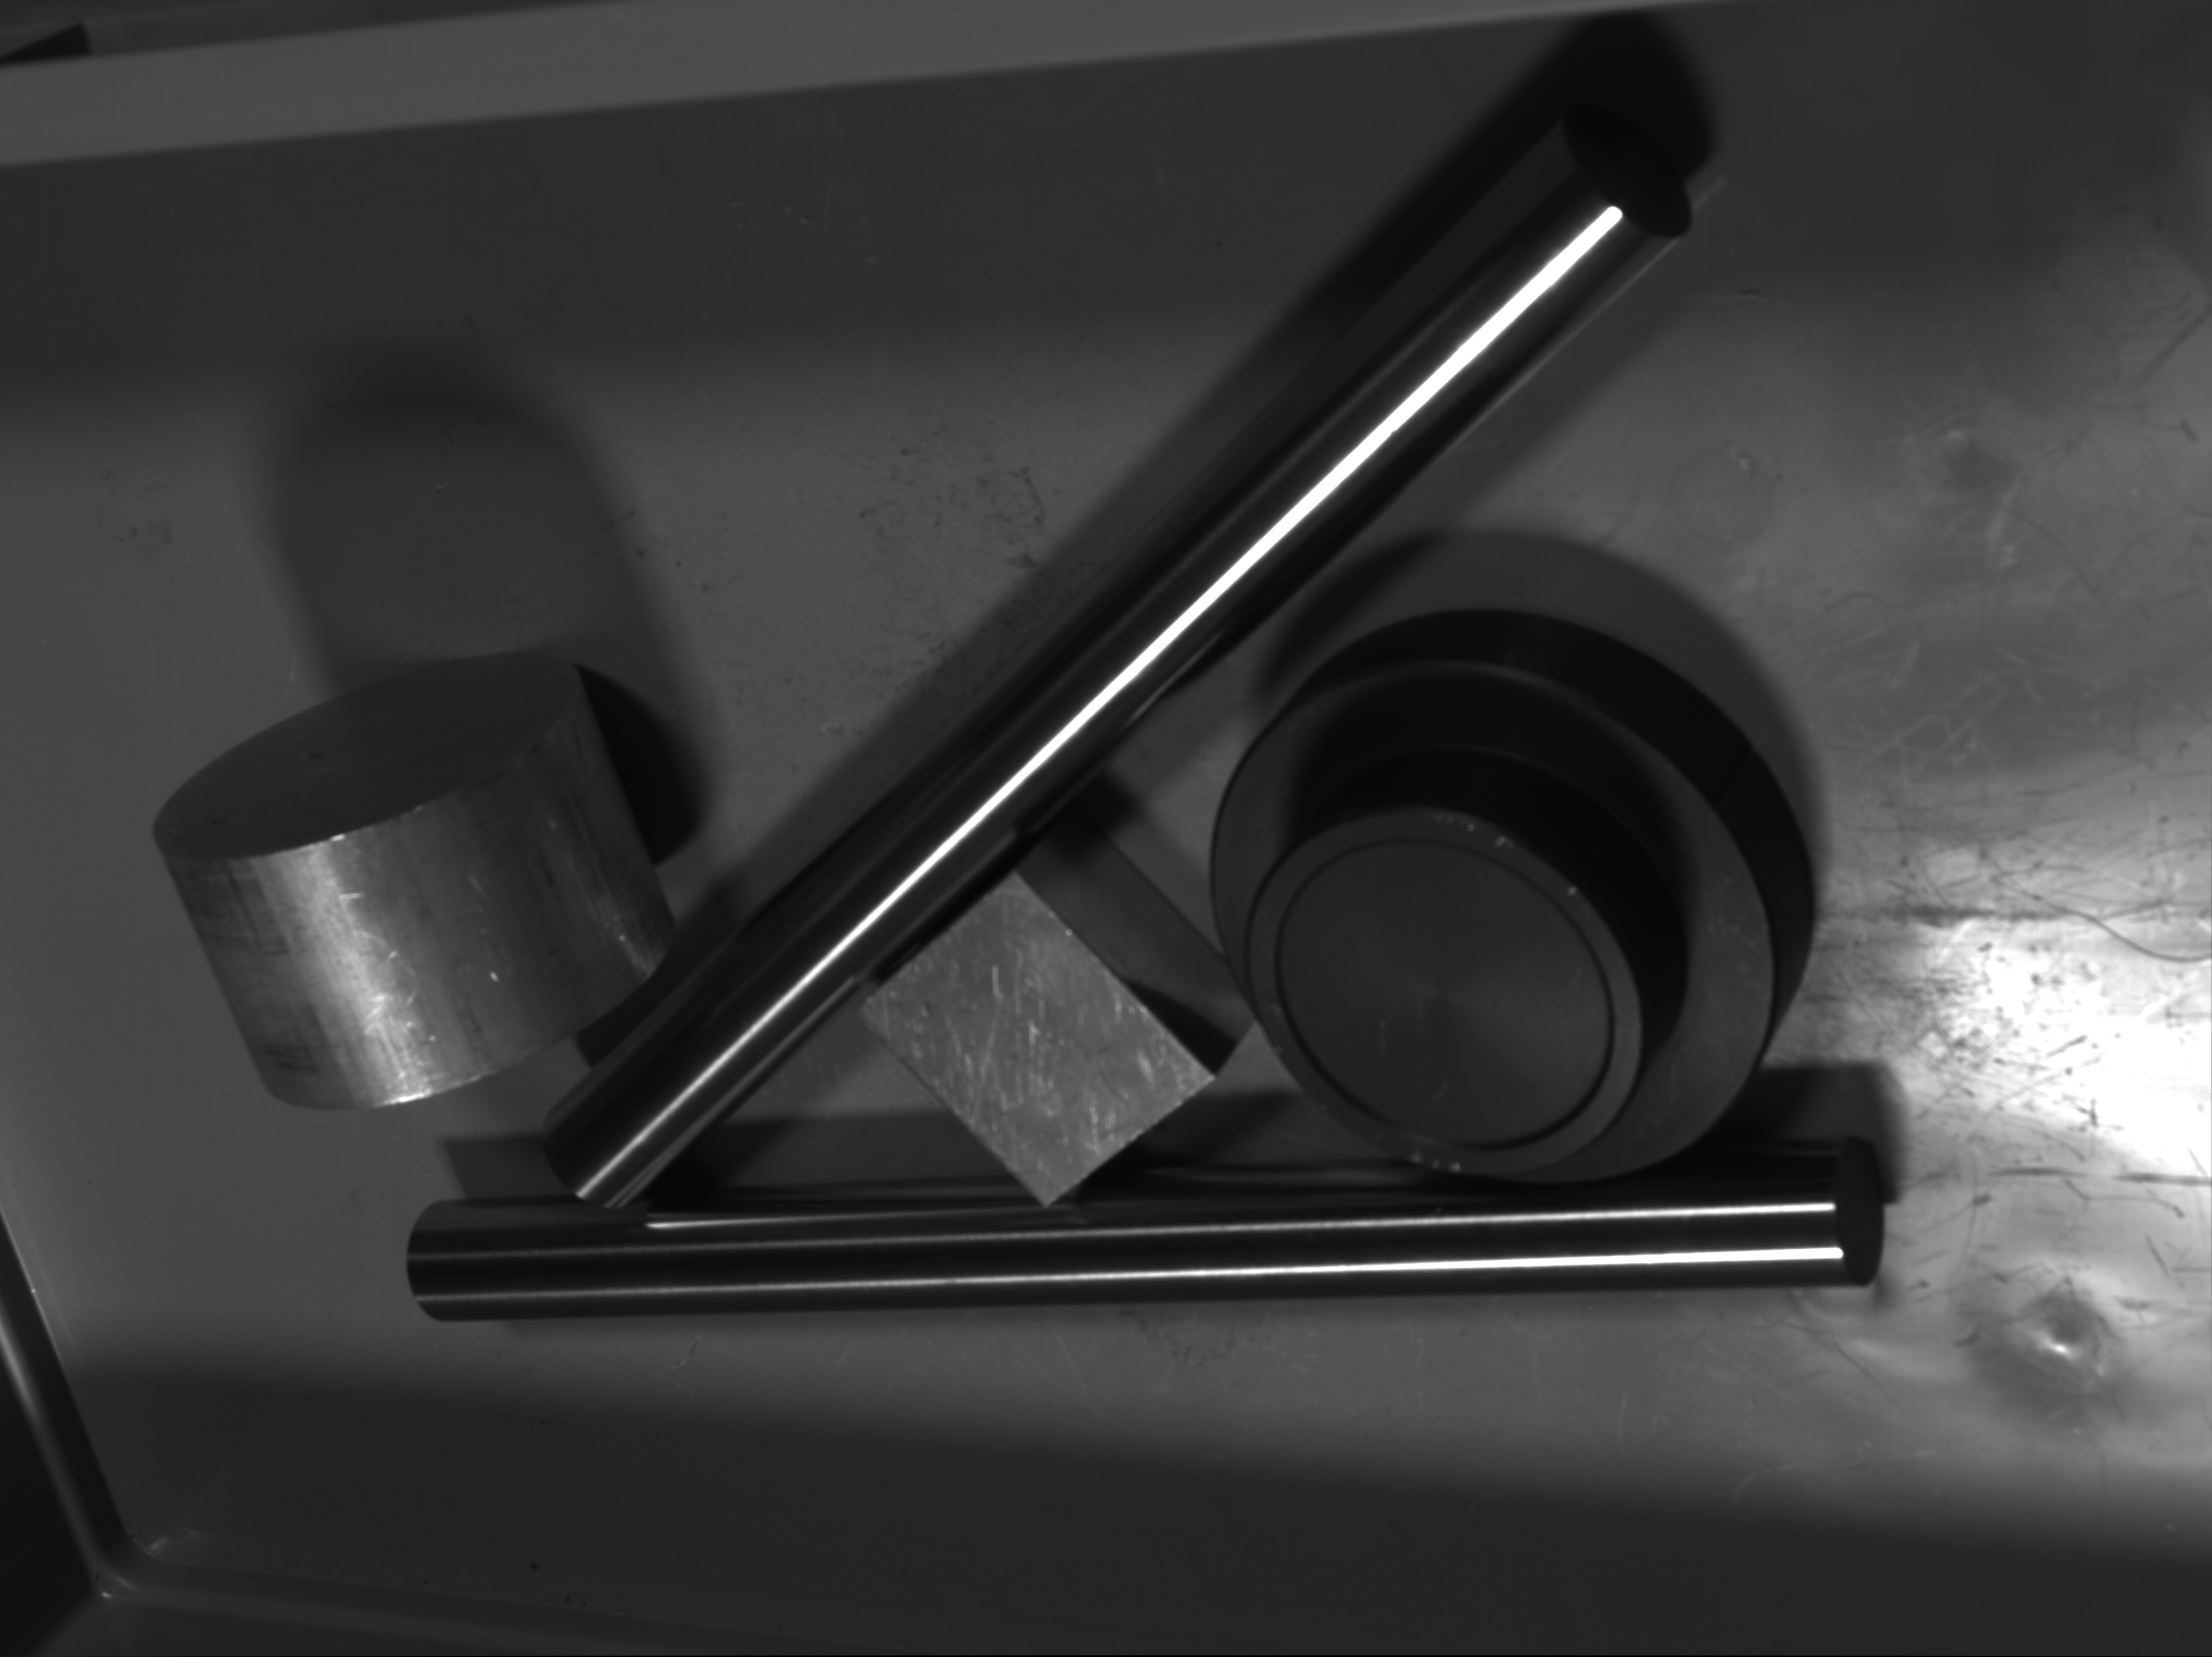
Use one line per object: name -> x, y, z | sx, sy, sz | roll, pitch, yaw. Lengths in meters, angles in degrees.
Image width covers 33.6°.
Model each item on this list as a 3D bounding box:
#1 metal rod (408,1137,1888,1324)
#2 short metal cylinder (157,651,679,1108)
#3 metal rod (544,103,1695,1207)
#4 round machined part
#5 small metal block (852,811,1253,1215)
metal rod -> -0.005, 0.076, 0.678 | 0.299, 0.025, 0.025 | -6, 116, 29
short metal cylinder -> -0.124, 0.008, 0.662 | 0.080, 0.080, 0.050 | -5, 116, 29
metal rod -> -0.011, -0.017, 0.625 | 0.025, 0.025, 0.300 | 45, 128, -4
round machined part -> 0.062, 0.018, 0.597 | 0.098, 0.042, 0.098 | 12, 123, 20
small metal block -> -0.008, 0.033, 0.653 | 0.050, 0.025, 0.050 | 46, 128, -5
